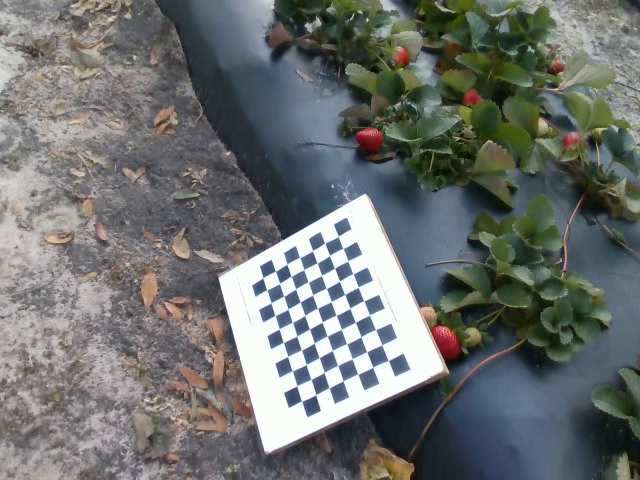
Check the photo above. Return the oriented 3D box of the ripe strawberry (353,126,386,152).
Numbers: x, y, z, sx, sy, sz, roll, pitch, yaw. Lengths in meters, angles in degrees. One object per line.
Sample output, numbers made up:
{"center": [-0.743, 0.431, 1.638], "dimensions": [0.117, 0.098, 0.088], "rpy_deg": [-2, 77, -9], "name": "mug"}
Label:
{"center": [0.086, -0.186, 1.083], "dimensions": [0.053, 0.050, 0.049], "rpy_deg": [10, -48, -48], "name": "ripe strawberry"}
